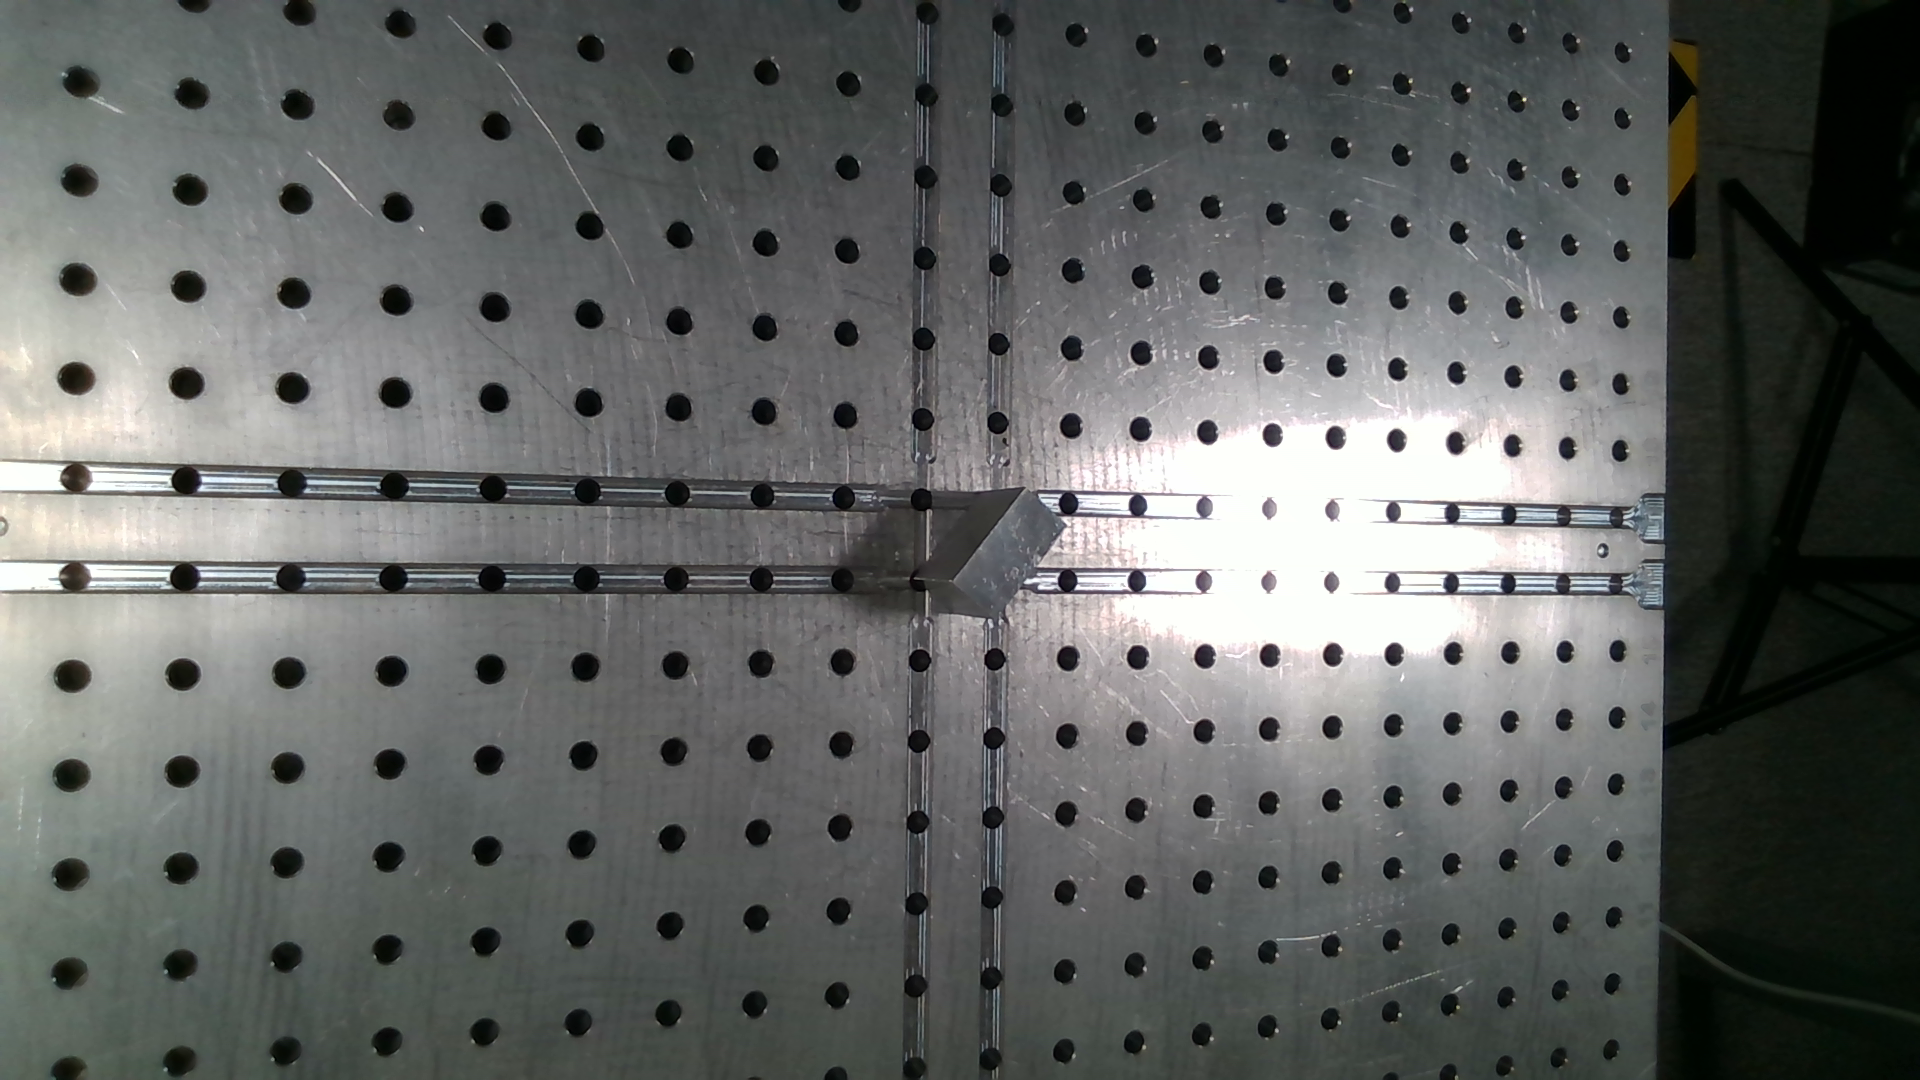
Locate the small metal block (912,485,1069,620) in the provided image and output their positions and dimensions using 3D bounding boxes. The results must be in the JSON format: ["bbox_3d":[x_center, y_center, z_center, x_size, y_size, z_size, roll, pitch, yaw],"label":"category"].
[{"bbox_3d":[0.012,0.005,0.579,0.025,0.050,0.050,42,77,-15],"label":"small metal block"}]
